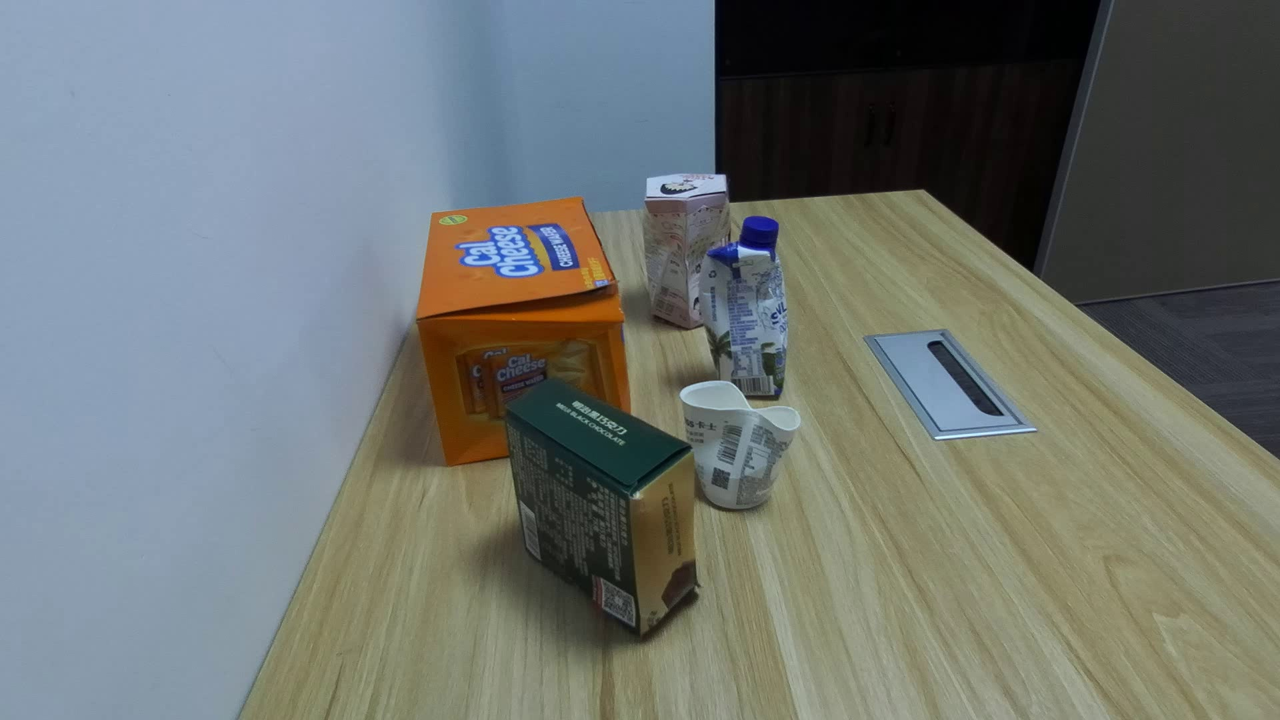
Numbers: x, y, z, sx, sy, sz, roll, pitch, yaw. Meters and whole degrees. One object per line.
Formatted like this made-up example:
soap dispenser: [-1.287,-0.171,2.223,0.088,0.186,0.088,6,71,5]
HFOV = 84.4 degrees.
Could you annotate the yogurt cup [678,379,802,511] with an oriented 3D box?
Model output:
yogurt cup: [0.066,0.058,0.477,0.075,0.071,0.053,-1,33,7]

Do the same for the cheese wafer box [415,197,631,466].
cheese wafer box: [-0.098,-0.038,0.600,0.150,0.137,0.226,-8,31,-8]

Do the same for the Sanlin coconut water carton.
Sanlin coconut water carton: [0.086,-0.045,0.581,0.068,0.145,0.057,-6,23,11]

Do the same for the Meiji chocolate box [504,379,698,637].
Meiji chocolate box: [-0.024,0.083,0.412,0.122,0.116,0.059,24,40,39]
